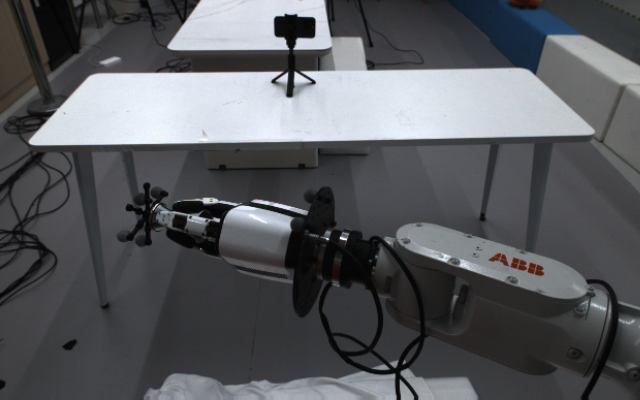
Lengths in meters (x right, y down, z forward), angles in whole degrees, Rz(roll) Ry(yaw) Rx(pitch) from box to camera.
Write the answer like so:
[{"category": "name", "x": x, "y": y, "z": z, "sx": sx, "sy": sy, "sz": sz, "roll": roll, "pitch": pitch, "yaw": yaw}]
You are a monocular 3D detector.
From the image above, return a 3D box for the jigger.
[{"category": "jigger", "x": -0.176, "y": 0.026, "z": 0.630, "sx": 0.071, "sy": 0.043, "sz": 0.043, "roll": 10, "pitch": 35, "yaw": 16}]
